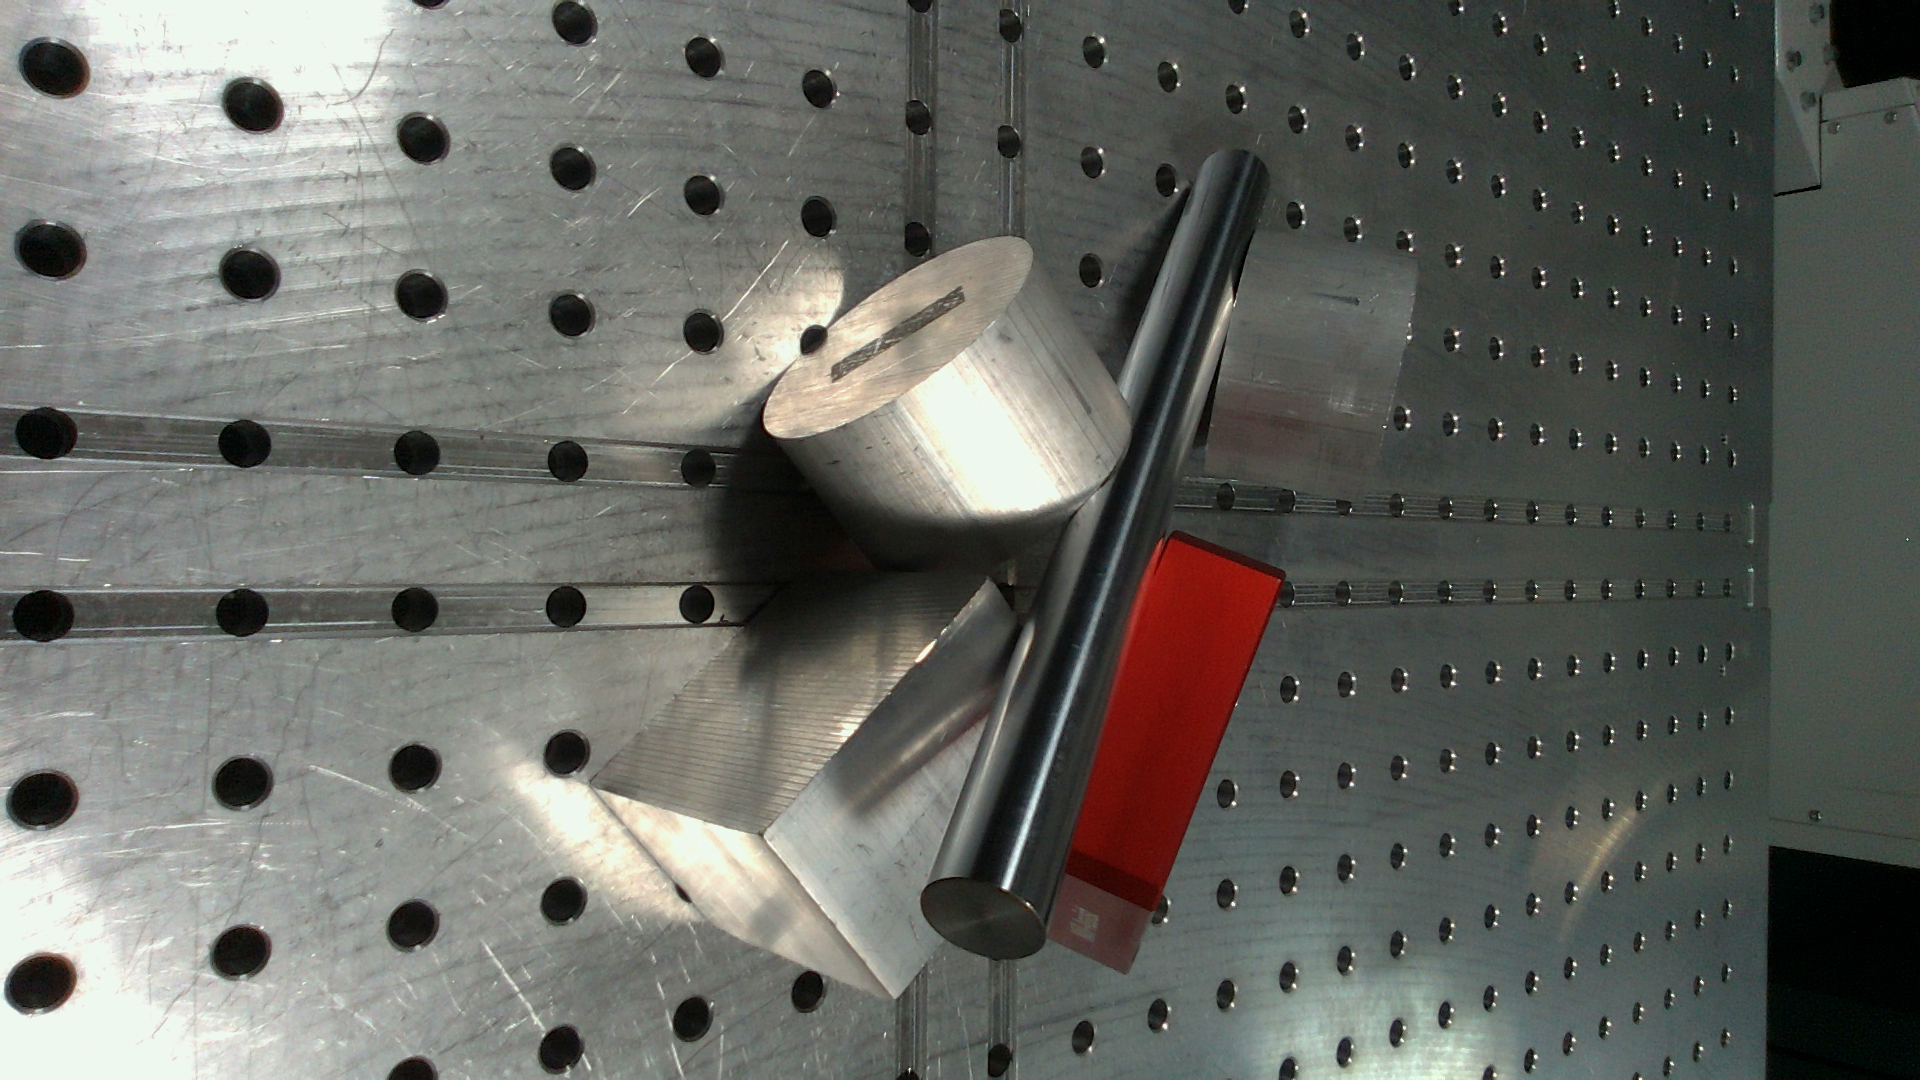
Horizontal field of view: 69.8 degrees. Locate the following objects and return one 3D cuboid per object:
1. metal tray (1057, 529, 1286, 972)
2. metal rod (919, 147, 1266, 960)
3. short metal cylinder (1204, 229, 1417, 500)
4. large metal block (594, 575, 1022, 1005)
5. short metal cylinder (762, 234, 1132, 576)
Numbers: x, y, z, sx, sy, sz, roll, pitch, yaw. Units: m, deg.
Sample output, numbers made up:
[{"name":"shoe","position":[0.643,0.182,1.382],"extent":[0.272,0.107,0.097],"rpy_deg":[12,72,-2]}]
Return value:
[{"name":"metal tray","position":[0.053,0.064,0.381],"extent":[0.130,0.030,0.090],"rpy_deg":[81,32,-66]},{"name":"metal rod","position":[0.048,-0.026,0.363],"extent":[0.025,0.025,0.301],"rpy_deg":[54,38,-26]},{"name":"short metal cylinder","position":[0.112,-0.056,0.443],"extent":[0.080,0.050,0.080],"rpy_deg":[12,90,-77]},{"name":"large metal block","position":[-0.027,0.054,0.333],"extent":[0.080,0.080,0.050],"rpy_deg":[-47,118,-29]},{"name":"short metal cylinder","position":[-0.003,-0.034,0.353],"extent":[0.080,0.080,0.050],"rpy_deg":[-51,120,-28]}]
